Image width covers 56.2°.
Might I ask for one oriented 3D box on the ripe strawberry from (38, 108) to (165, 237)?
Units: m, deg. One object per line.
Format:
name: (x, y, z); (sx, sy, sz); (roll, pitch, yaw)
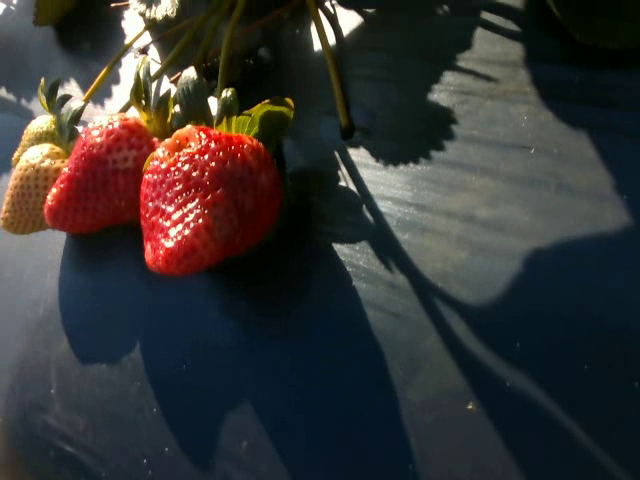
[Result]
ripe strawberry: (-0.079, -0.024, 0.222); (0.050, 0.061, 0.044); (43, -15, 16)

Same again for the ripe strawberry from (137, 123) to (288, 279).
ripe strawberry: (-0.037, -0.009, 0.191); (0.051, 0.067, 0.056); (37, -54, -20)
